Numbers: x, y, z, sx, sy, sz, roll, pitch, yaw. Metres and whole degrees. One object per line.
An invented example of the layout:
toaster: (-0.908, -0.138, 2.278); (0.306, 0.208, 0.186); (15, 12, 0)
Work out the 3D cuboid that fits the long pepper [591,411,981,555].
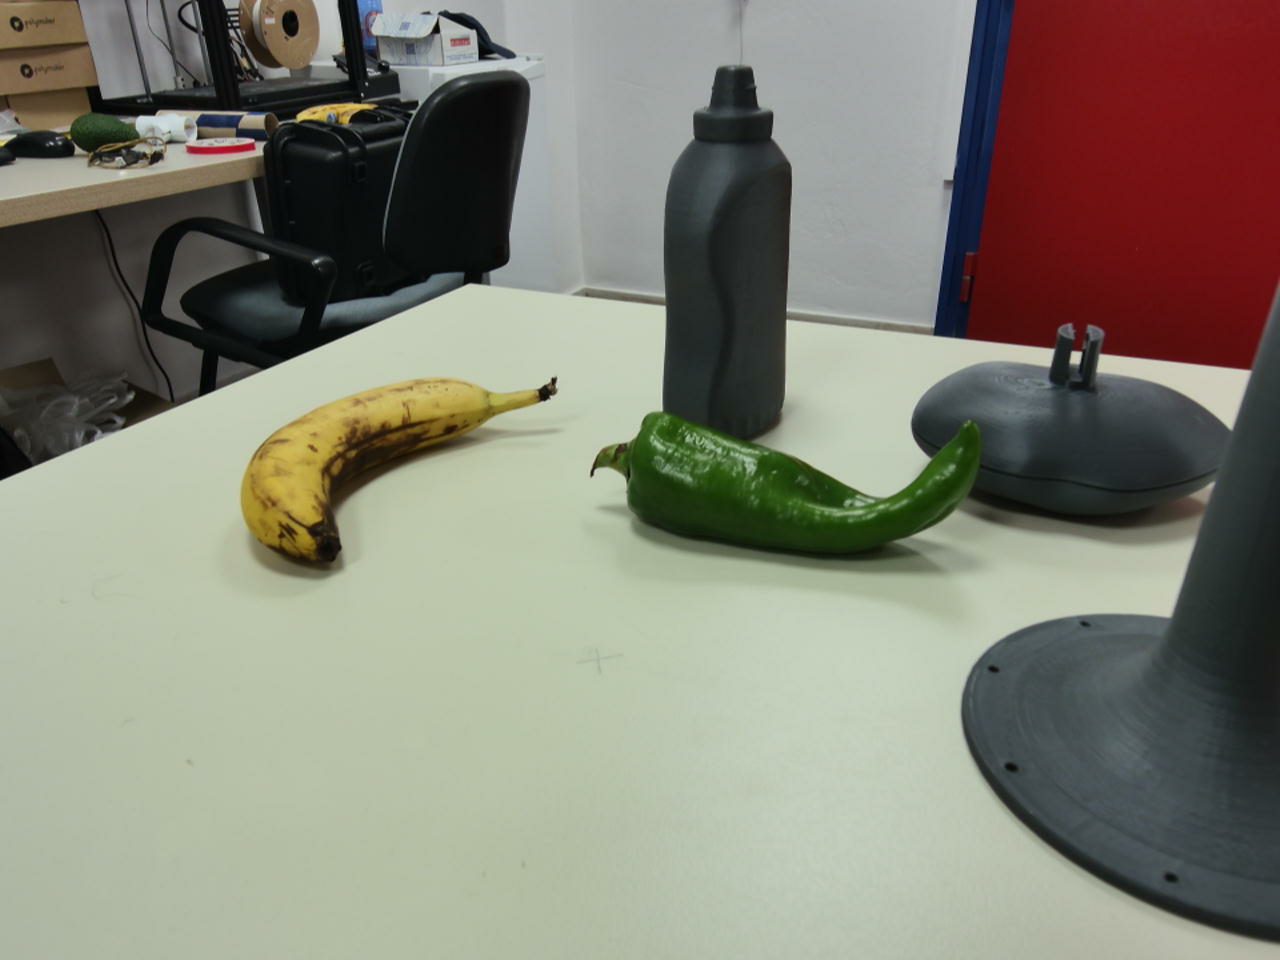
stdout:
long pepper: (0.058, -0.004, 0.446); (0.175, 0.065, 0.058); (10, 26, 22)
